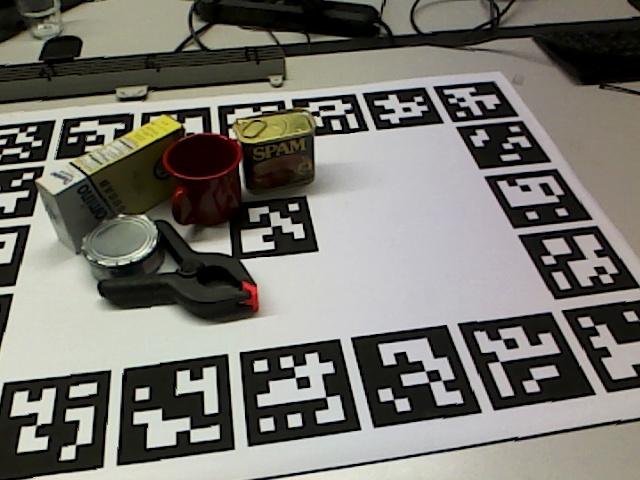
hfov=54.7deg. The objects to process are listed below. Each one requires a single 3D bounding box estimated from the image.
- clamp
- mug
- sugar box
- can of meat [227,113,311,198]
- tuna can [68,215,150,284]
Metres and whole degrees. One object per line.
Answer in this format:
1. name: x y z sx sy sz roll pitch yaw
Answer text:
1. clamp: -0.152 0.047 0.675 0.166 0.036 0.121 22 45 15
2. mug: -0.155 -0.066 0.744 0.093 0.081 0.117 12 48 10
3. sugar box: -0.248 -0.065 0.746 0.045 0.092 0.176 32 52 29
4. can of meat: -0.064 -0.108 0.796 0.101 0.083 0.058 -12 45 -14
5. tuna can: -0.238 0.013 0.701 0.086 0.033 0.086 0 47 0
